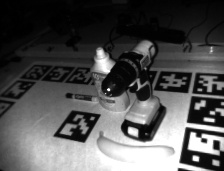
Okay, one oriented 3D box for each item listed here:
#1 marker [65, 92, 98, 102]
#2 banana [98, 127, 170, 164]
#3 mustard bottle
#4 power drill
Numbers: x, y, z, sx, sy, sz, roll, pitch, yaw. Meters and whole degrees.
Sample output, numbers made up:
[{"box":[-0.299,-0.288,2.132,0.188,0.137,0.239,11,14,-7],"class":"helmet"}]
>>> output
[{"box":[-0.105,0.038,0.724,0.120,0.020,0.020,5,44,24],"class":"marker"},{"box":[0.040,0.153,0.528,0.195,0.039,0.074,9,46,29],"class":"banana"},{"box":[-0.012,-0.013,0.616,0.095,0.193,0.059,13,47,30],"class":"mustard bottle"},{"box":[0.058,0.024,0.523,0.056,0.188,0.185,16,46,31],"class":"power drill"}]
